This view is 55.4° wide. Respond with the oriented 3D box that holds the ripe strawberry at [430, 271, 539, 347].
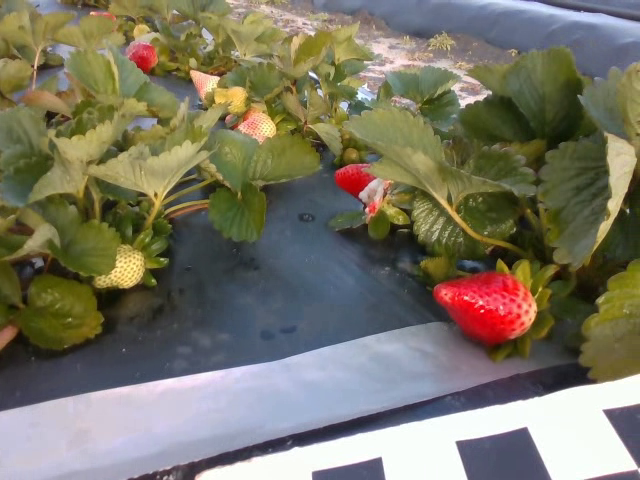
[{"bbox_3d":[0.068,0.026,0.255,0.055,0.036,0.050,-1,34,-12],"label":"ripe strawberry"}]
